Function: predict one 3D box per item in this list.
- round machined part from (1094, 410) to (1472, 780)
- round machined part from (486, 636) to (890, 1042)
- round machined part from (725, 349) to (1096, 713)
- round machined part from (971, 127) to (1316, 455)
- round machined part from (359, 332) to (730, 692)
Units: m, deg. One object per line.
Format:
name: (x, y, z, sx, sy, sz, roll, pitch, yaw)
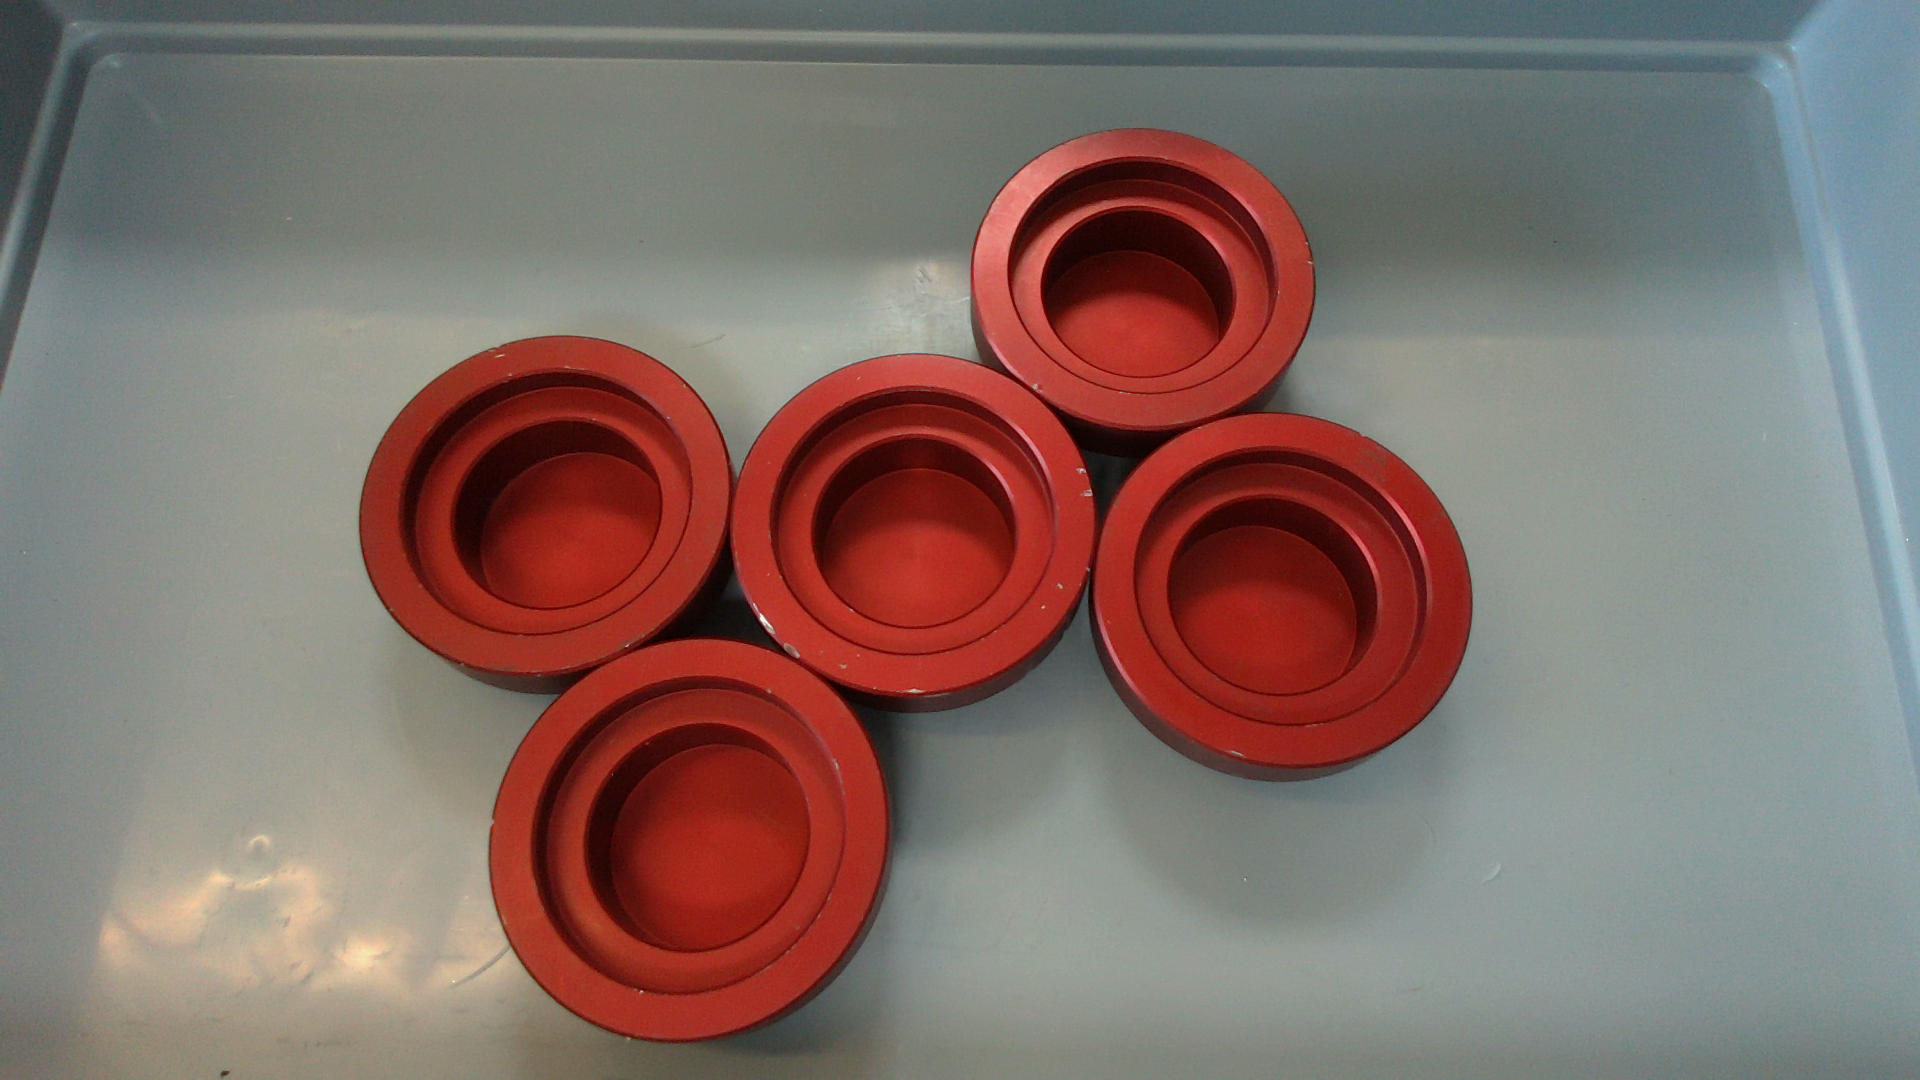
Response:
round machined part: (0.084, 0.017, 0.377, 0.098, 0.042, 0.098, 0, 70, 0)
round machined part: (-0.066, 0.077, 0.354, 0.098, 0.042, 0.098, 0, 70, 0)
round machined part: (-0.013, 0.000, 0.382, 0.098, 0.042, 0.098, 0, 70, 0)
round machined part: (0.052, -0.069, 0.409, 0.098, 0.042, 0.098, 0, 70, 0)
round machined part: (-0.110, -0.005, 0.385, 0.098, 0.042, 0.098, 0, 70, 0)
